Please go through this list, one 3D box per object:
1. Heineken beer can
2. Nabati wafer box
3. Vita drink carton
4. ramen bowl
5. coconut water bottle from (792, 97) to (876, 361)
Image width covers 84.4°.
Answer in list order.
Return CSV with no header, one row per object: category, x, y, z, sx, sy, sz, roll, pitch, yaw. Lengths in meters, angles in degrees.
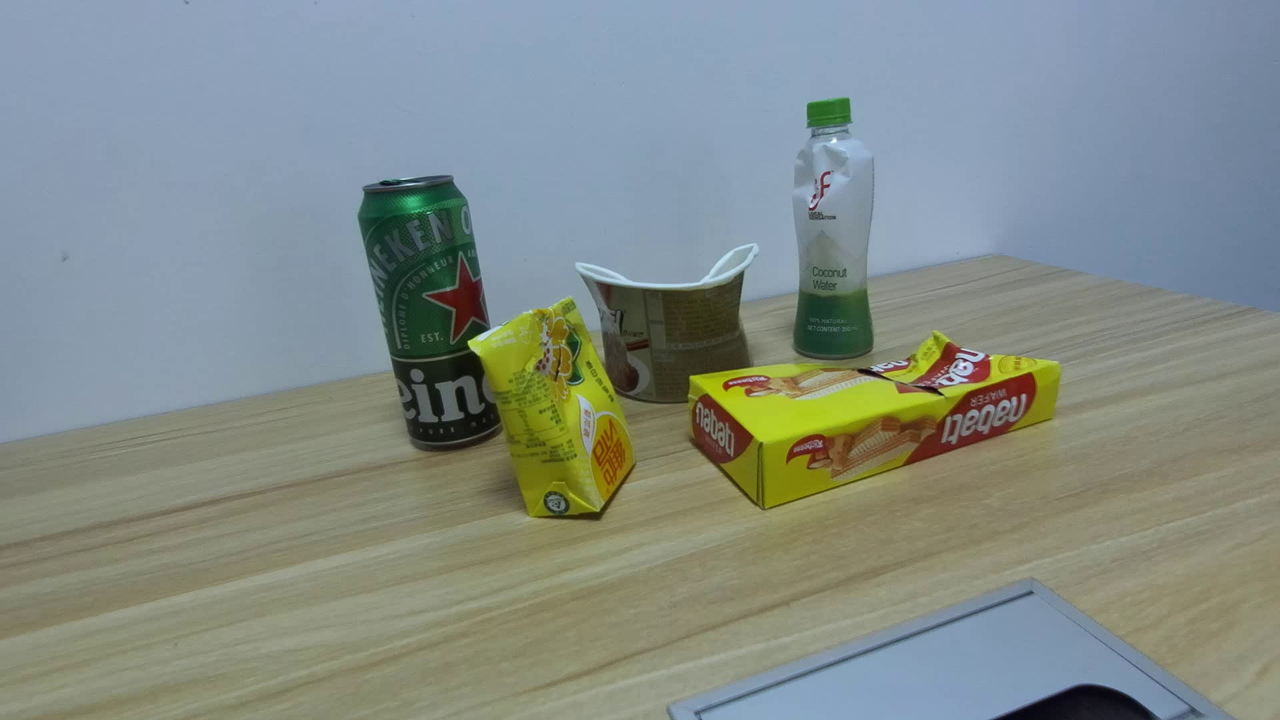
Heineken beer can,-0.132,-0.029,0.458,0.067,0.169,0.067,-6,18,2
Nabati wafer box,0.138,0.024,0.426,0.205,0.042,0.106,-11,22,-18
Vita drink carton,-0.046,0.024,0.382,0.042,0.108,0.087,-13,12,23
ramen bowl,0.022,-0.028,0.517,0.137,0.098,0.137,-7,20,3
coconut water bottle,0.144,-0.096,0.534,0.069,0.186,0.069,-6,18,2
